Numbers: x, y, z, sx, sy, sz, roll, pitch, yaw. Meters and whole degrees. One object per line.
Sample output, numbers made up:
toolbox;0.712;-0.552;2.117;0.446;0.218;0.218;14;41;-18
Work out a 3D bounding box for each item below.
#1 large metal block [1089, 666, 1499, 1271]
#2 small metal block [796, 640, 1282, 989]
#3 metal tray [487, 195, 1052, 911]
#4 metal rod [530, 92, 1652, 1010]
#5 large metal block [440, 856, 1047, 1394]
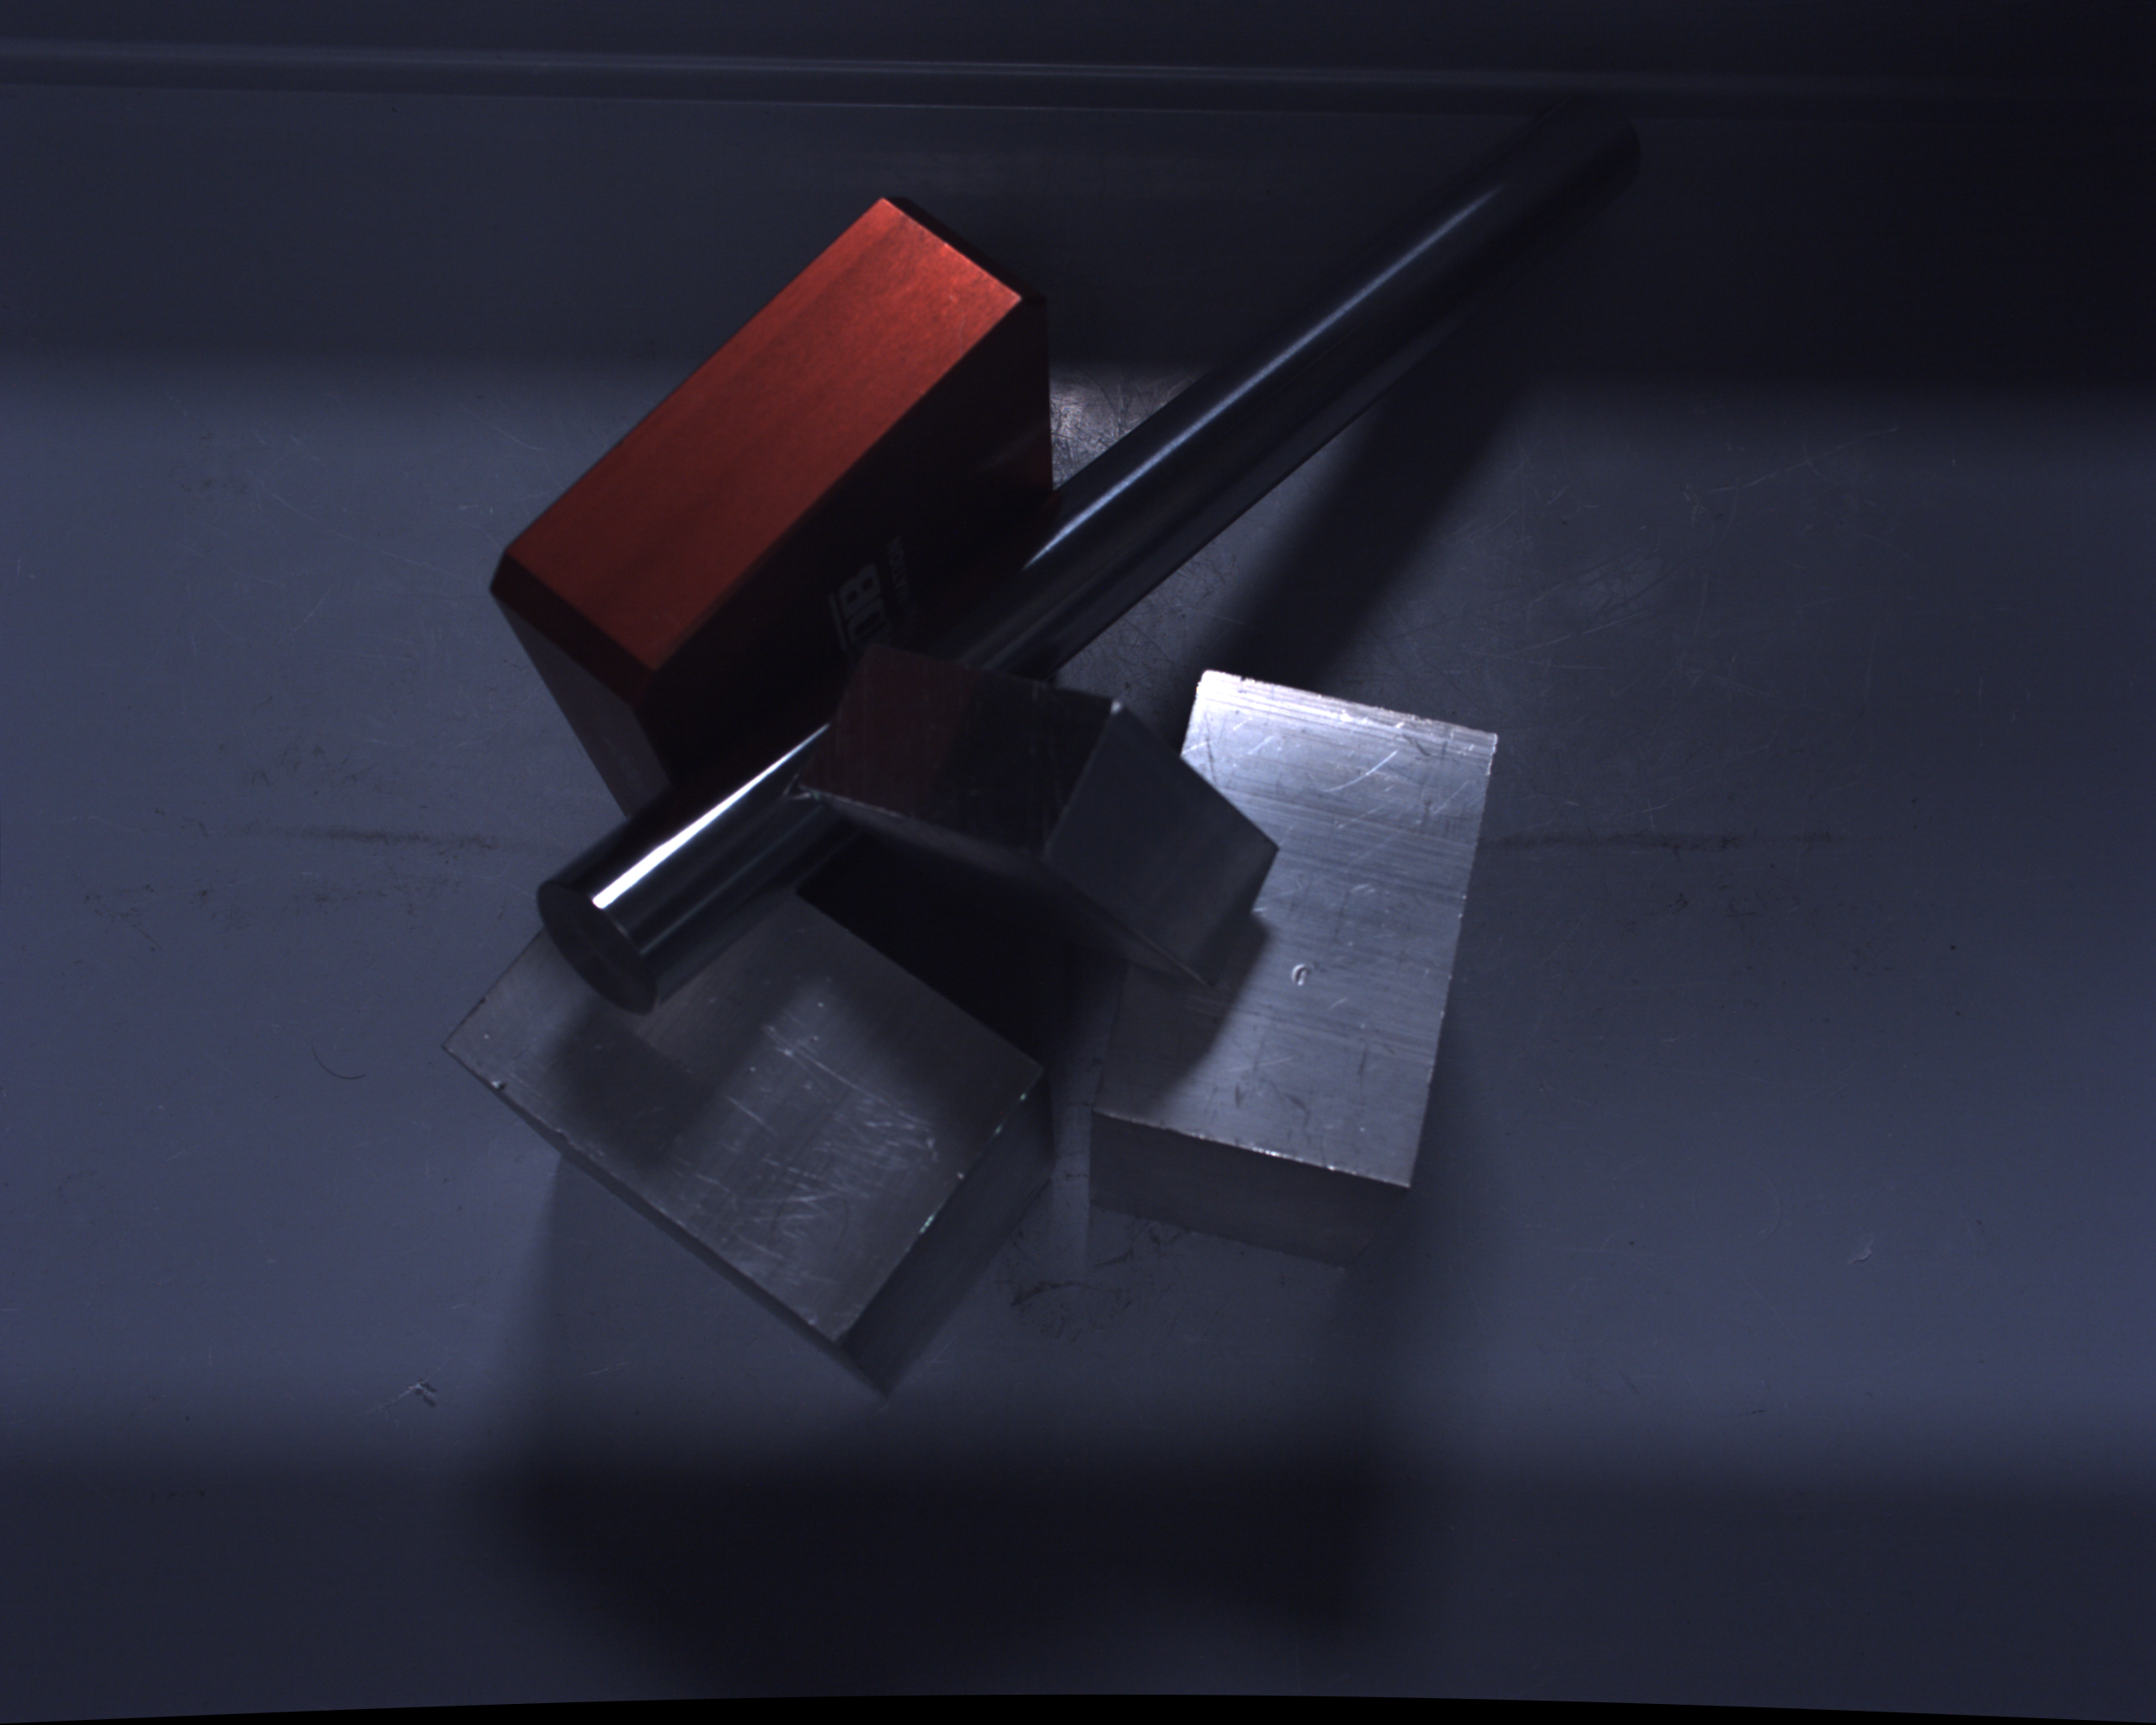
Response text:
large metal block;0.036;0.022;0.372;0.050;0.080;0.080;13;71;4
small metal block;-0.005;-0.007;0.319;0.050;0.050;0.025;17;77;39
metal tray;-0.045;-0.044;0.367;0.030;0.130;0.090;38;75;13
metal rod;0.022;-0.074;0.388;0.025;0.025;0.302;40;57;13
large metal block;-0.053;0.044;0.364;0.080;0.080;0.050;35;74;11
